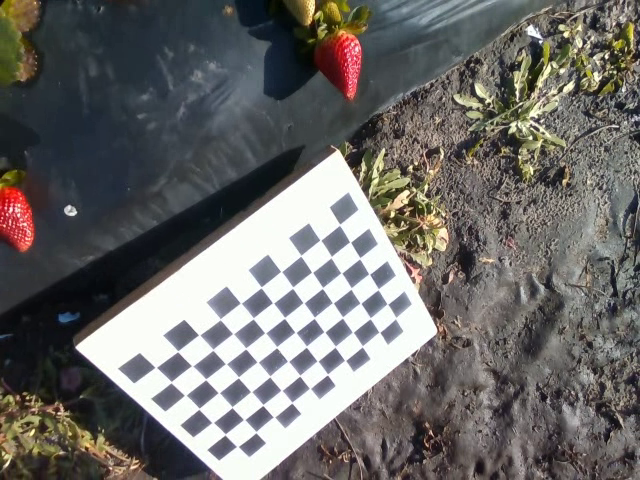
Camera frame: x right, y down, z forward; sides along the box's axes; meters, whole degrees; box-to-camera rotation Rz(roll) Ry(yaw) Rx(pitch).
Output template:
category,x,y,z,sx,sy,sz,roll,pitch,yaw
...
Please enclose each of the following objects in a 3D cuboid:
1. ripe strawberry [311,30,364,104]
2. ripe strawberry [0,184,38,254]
category,x,y,z,sx,sy,sz,roll,pitch,yaw
ripe strawberry,0.014,-0.132,0.477,0.042,0.058,0.042,-20,19,-23
ripe strawberry,-0.222,-0.013,0.447,0.046,0.055,0.042,-33,2,-16
